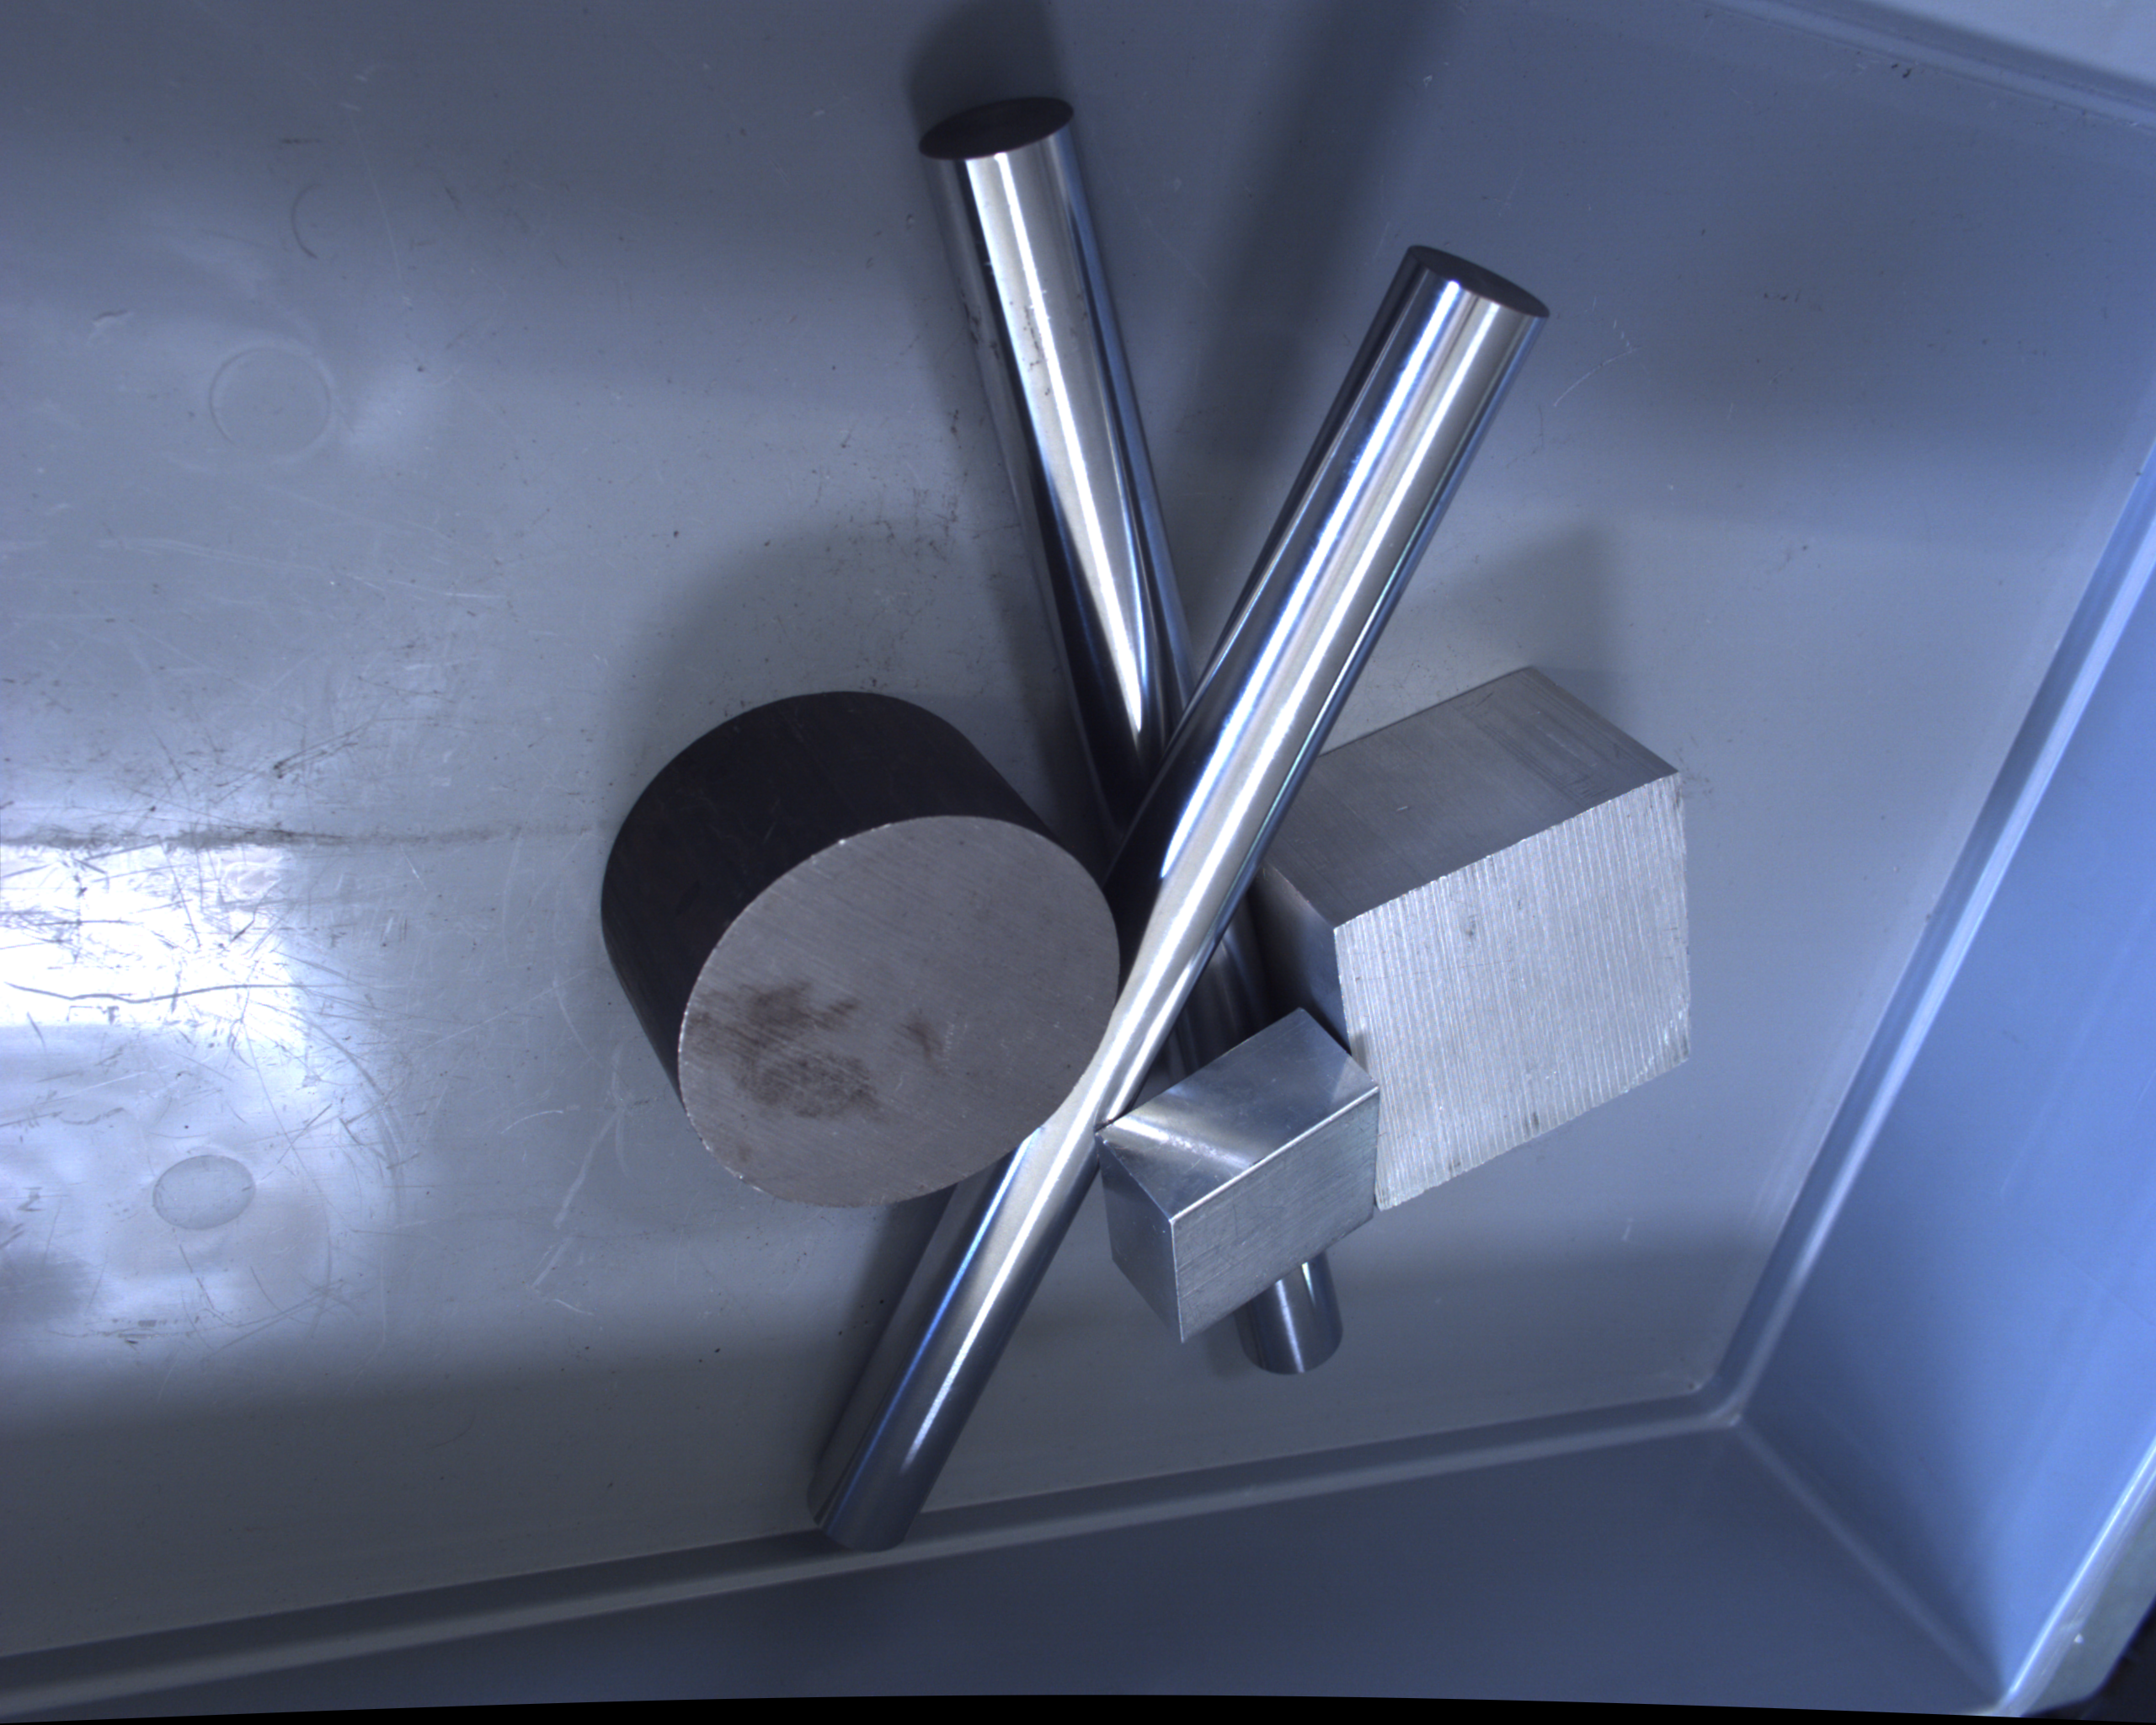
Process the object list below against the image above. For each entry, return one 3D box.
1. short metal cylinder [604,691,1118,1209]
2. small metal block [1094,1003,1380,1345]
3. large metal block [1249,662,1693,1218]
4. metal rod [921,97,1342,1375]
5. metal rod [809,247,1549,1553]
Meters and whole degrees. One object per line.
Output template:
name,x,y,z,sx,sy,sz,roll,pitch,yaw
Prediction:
short metal cylinder,-0.040,0.016,0.378,0.081,0.050,0.079,-14,125,-21
small metal block,0.033,0.064,0.423,0.050,0.025,0.050,-30,144,-19
large metal block,0.081,0.016,0.444,0.081,0.050,0.080,-25,128,-14
metal rod,0.020,0.000,0.417,0.025,0.025,0.298,-25,128,-13
metal rod,0.007,0.026,0.402,0.025,0.025,0.298,6,123,-32
